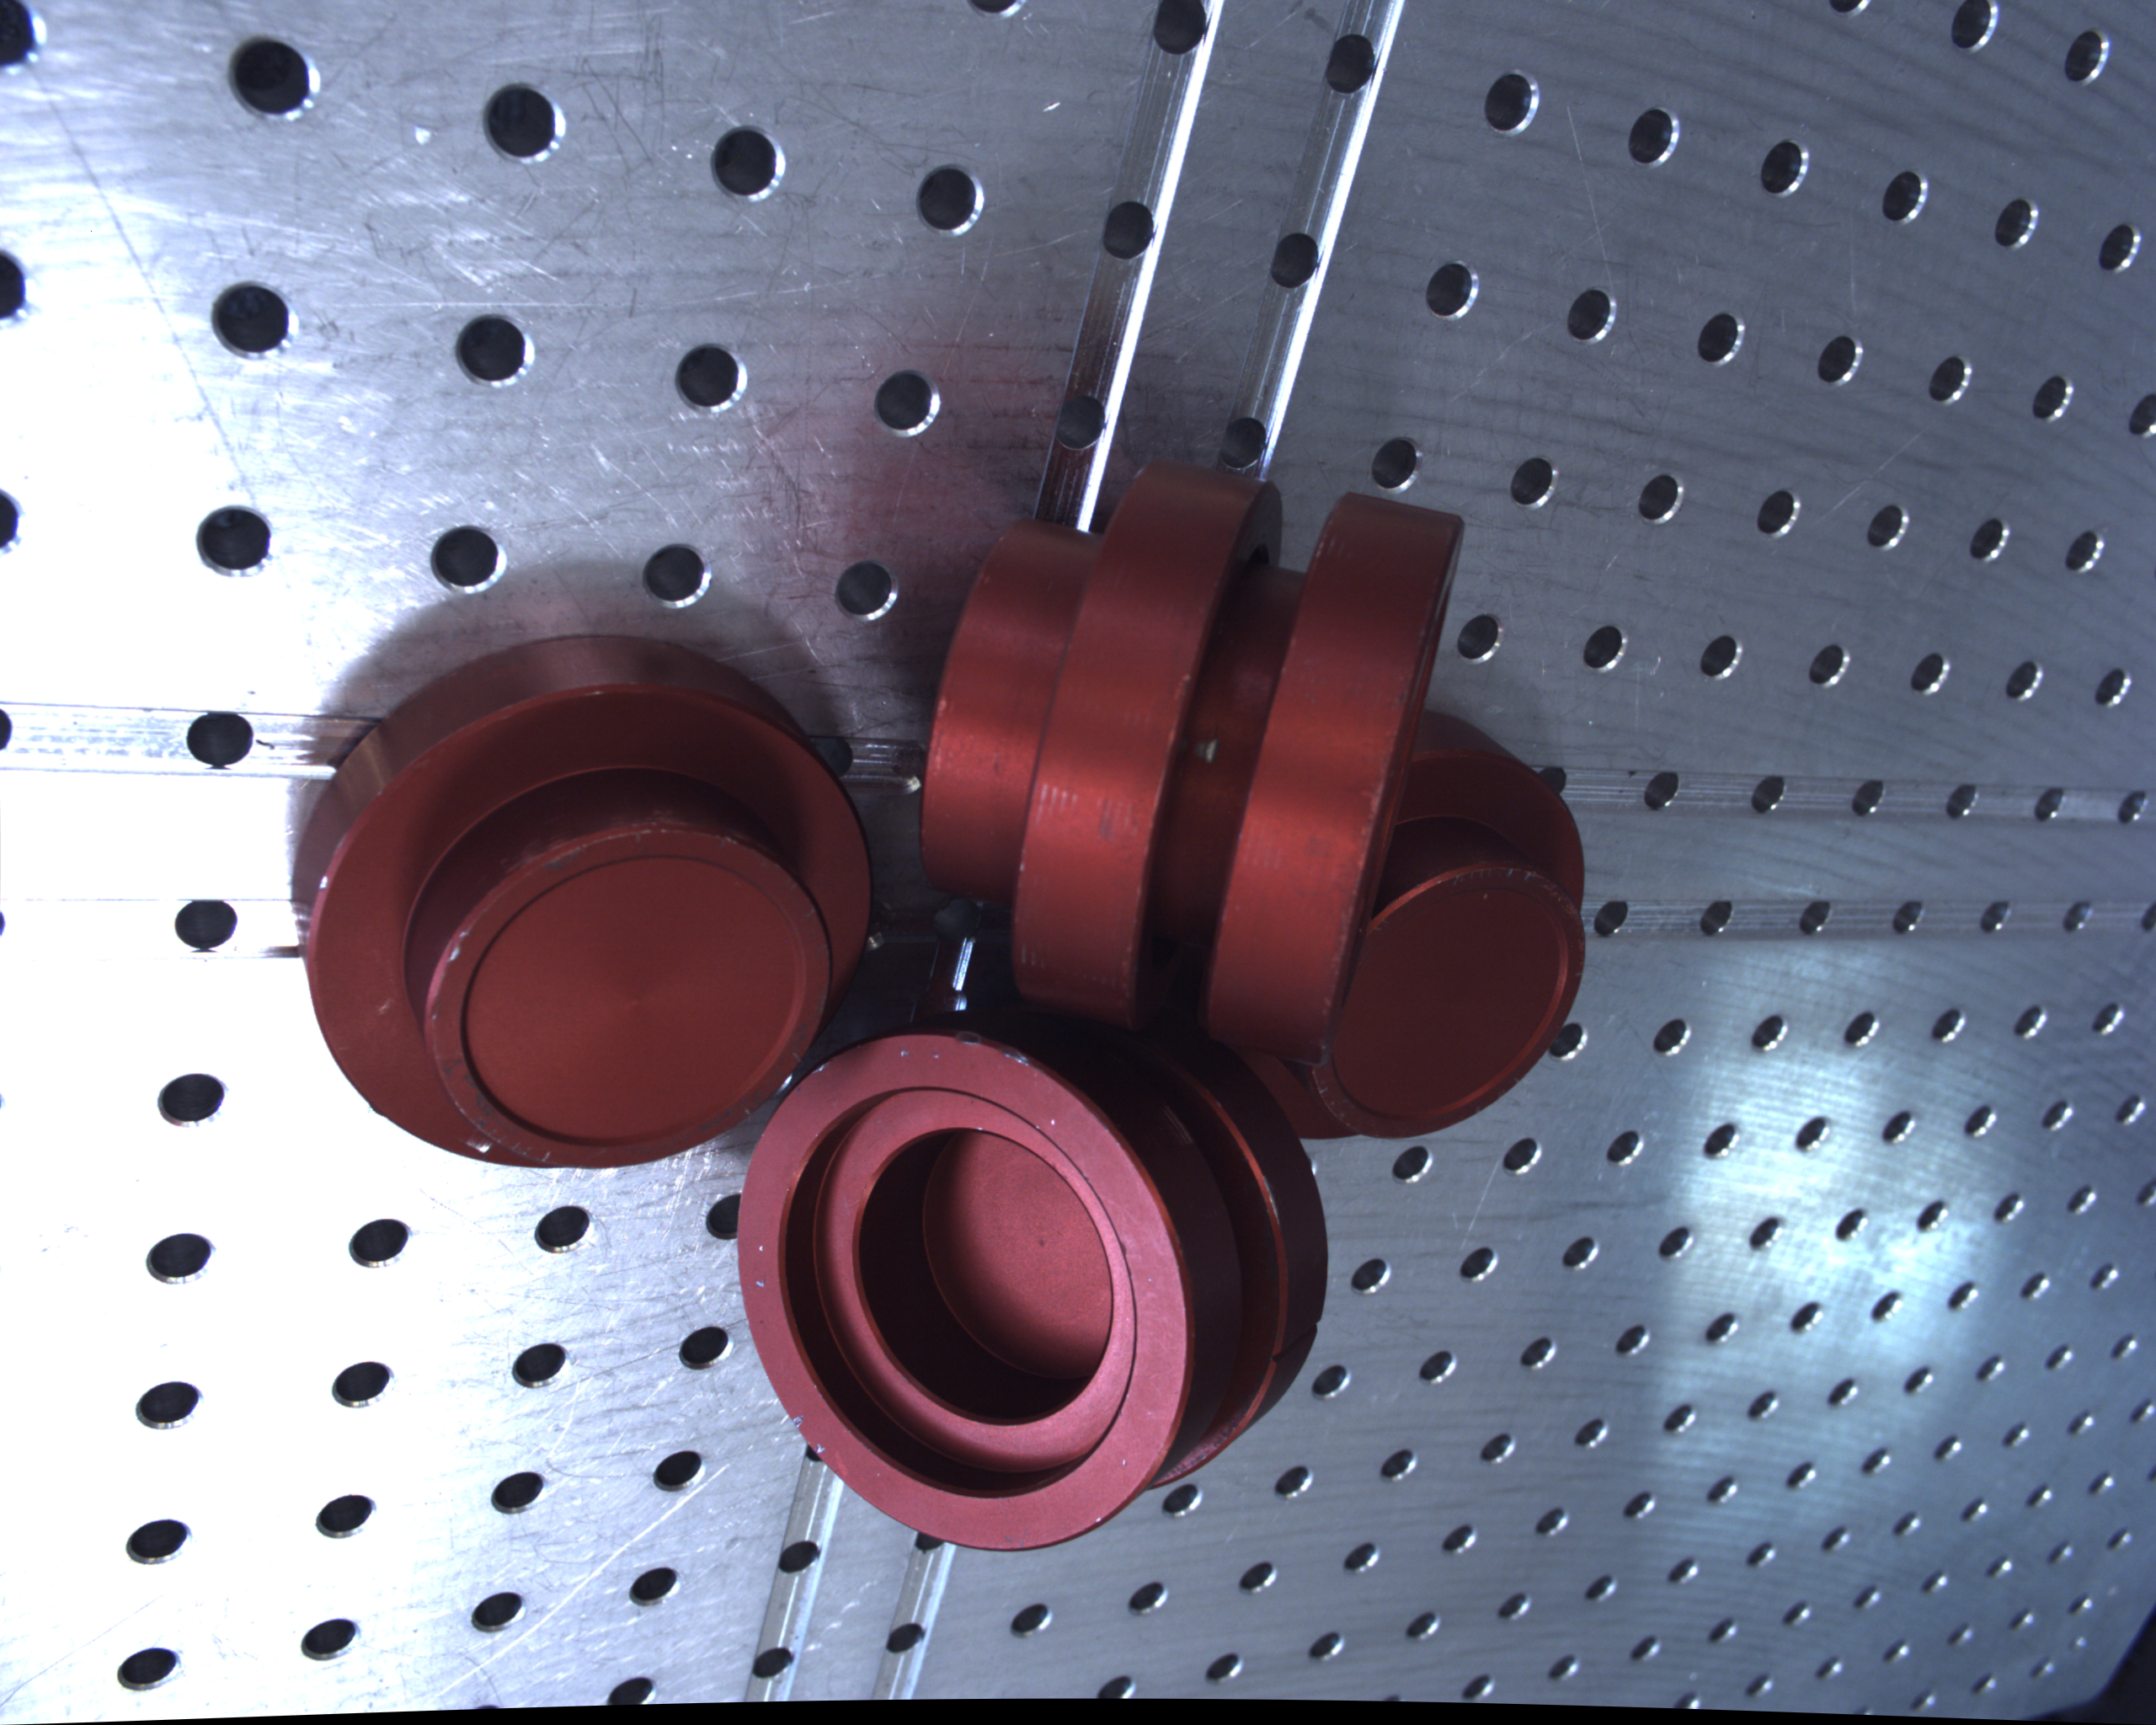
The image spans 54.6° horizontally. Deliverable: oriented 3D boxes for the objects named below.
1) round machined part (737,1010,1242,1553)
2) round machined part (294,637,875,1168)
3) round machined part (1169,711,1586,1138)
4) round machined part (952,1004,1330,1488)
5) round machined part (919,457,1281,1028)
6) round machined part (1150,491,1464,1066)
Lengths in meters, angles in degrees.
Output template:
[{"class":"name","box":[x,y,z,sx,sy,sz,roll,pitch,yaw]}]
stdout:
[{"class":"round machined part","box":[-0.013,0.076,0.397,0.042,0.098,0.097,-15,132,-60]},{"class":"round machined part","box":[-0.081,0.014,0.363,0.099,0.042,0.097,-14,124,-21]},{"class":"round machined part","box":[0.069,0.020,0.449,0.099,0.042,0.097,-14,124,-21]},{"class":"round machined part","box":[0.006,0.074,0.424,0.042,0.098,0.097,-14,131,-60]},{"class":"round machined part","box":[0.003,-0.023,0.366,0.042,0.098,0.097,14,118,10]},{"class":"round machined part","box":[0.035,-0.017,0.363,0.042,0.098,0.097,14,118,10]}]
